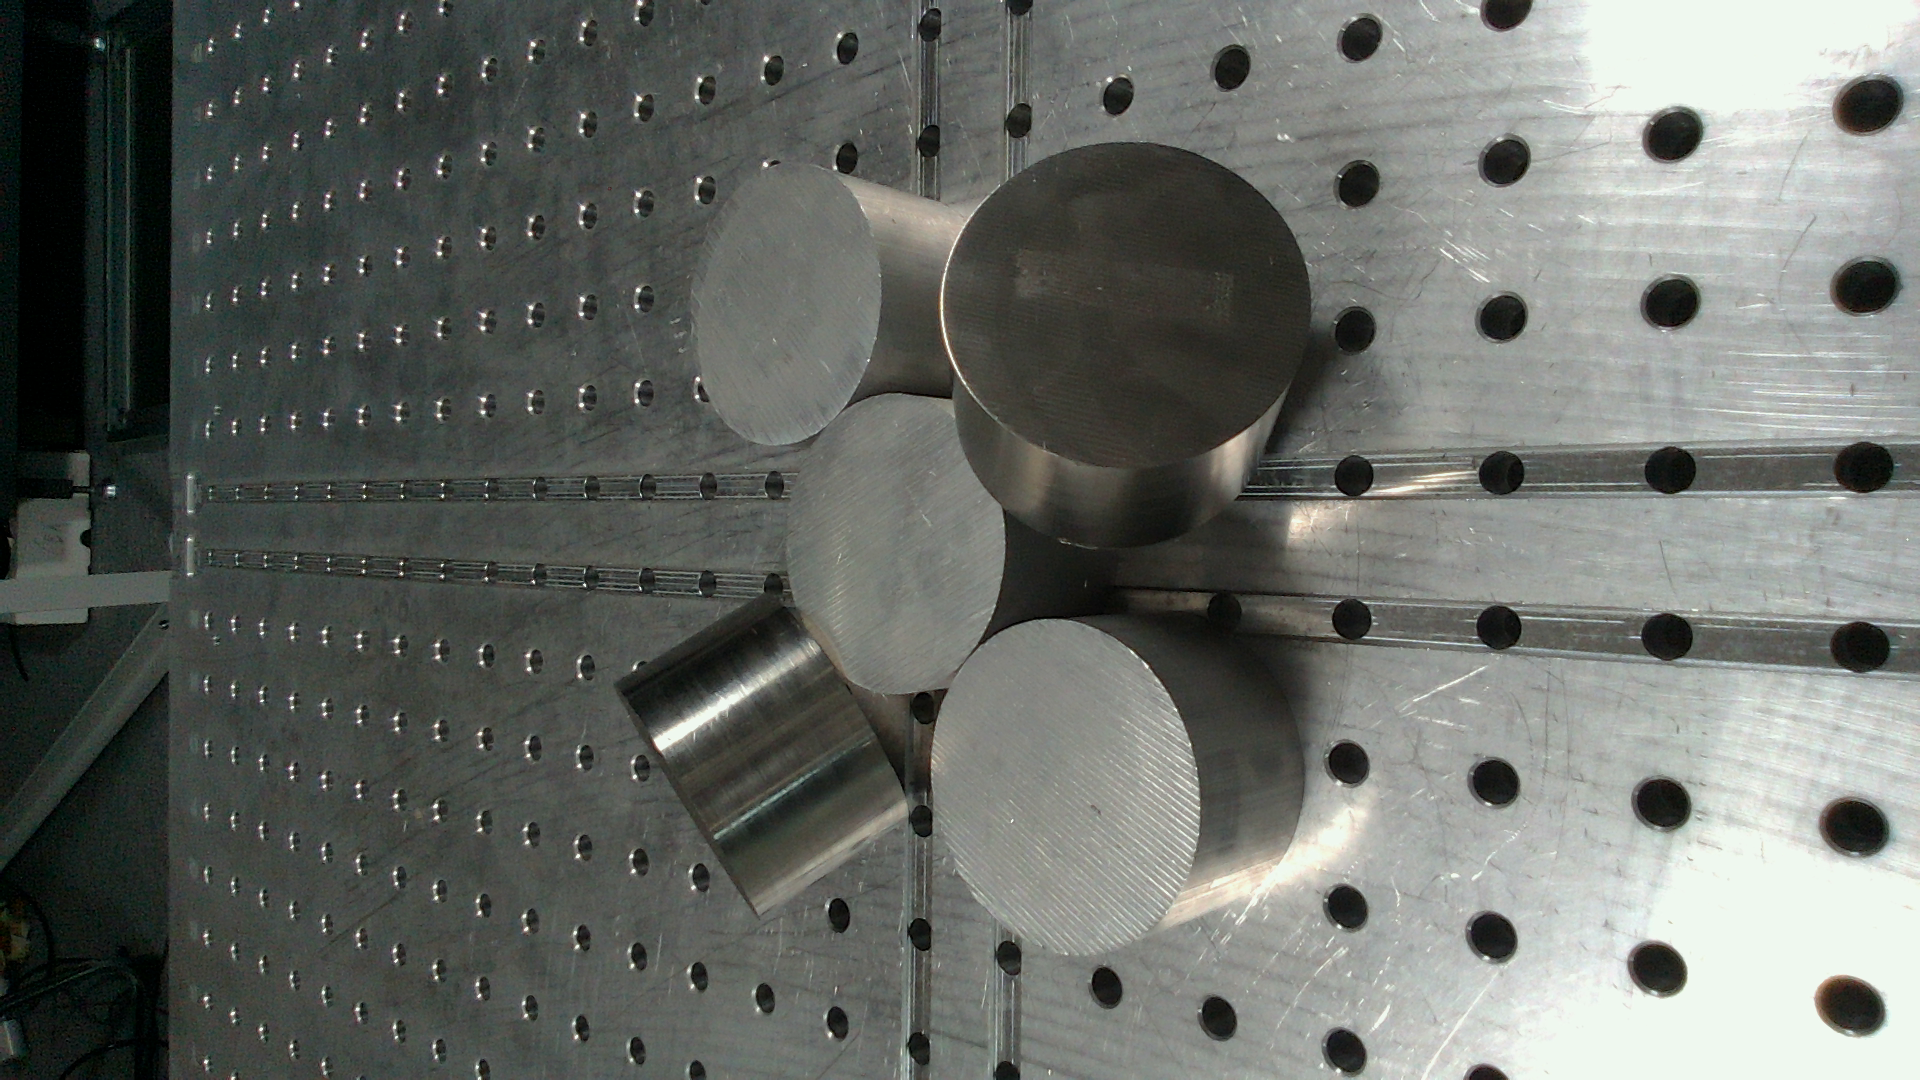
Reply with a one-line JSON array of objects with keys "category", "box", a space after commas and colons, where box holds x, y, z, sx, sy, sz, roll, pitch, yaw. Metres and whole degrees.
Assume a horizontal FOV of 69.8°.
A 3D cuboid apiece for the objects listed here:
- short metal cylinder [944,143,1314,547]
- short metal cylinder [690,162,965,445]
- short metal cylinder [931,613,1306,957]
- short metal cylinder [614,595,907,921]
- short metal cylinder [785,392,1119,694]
[{"category": "short metal cylinder", "box": [0.038, -0.044, 0.323, 0.080, 0.050, 0.080, -1, 70, 3]}, {"category": "short metal cylinder", "box": [-0.035, -0.067, 0.411, 0.080, 0.050, 0.080, 0, 90, 40]}, {"category": "short metal cylinder", "box": [0.039, 0.059, 0.348, 0.080, 0.050, 0.080, 0, 90, 40]}, {"category": "short metal cylinder", "box": [-0.059, 0.063, 0.404, 0.080, 0.050, 0.080, 50, 162, 24]}, {"category": "short metal cylinder", "box": [-0.003, 0.001, 0.384, 0.080, 0.050, 0.080, 0, 90, 40]}]
